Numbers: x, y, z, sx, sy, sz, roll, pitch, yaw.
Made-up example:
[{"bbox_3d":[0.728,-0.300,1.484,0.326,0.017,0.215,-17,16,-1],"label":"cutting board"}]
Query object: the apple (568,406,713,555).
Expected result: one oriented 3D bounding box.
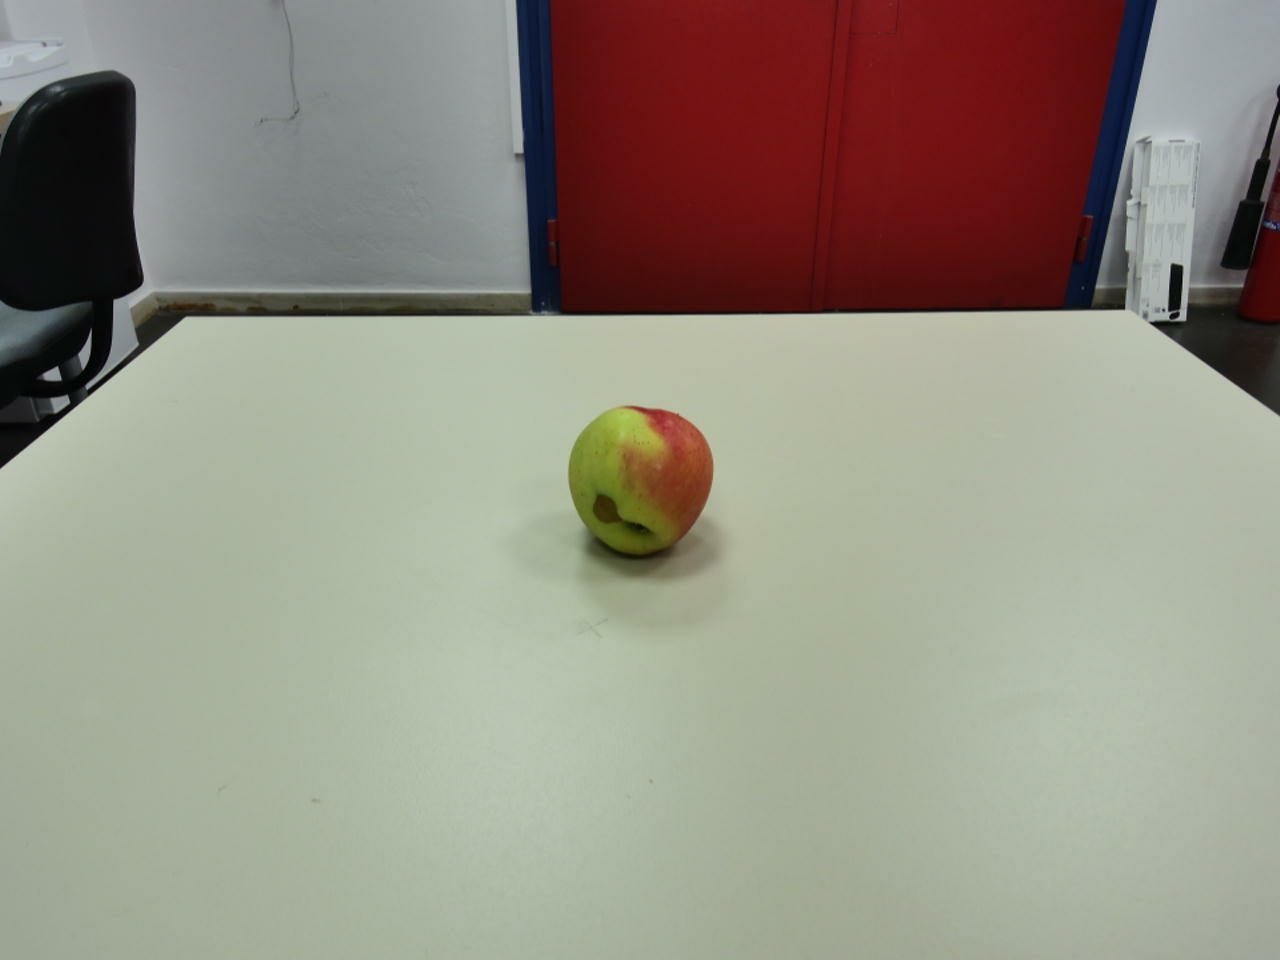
[{"bbox_3d":[0.001,0.000,0.510,0.075,0.074,0.075,-8,27,-18],"label":"apple"}]
